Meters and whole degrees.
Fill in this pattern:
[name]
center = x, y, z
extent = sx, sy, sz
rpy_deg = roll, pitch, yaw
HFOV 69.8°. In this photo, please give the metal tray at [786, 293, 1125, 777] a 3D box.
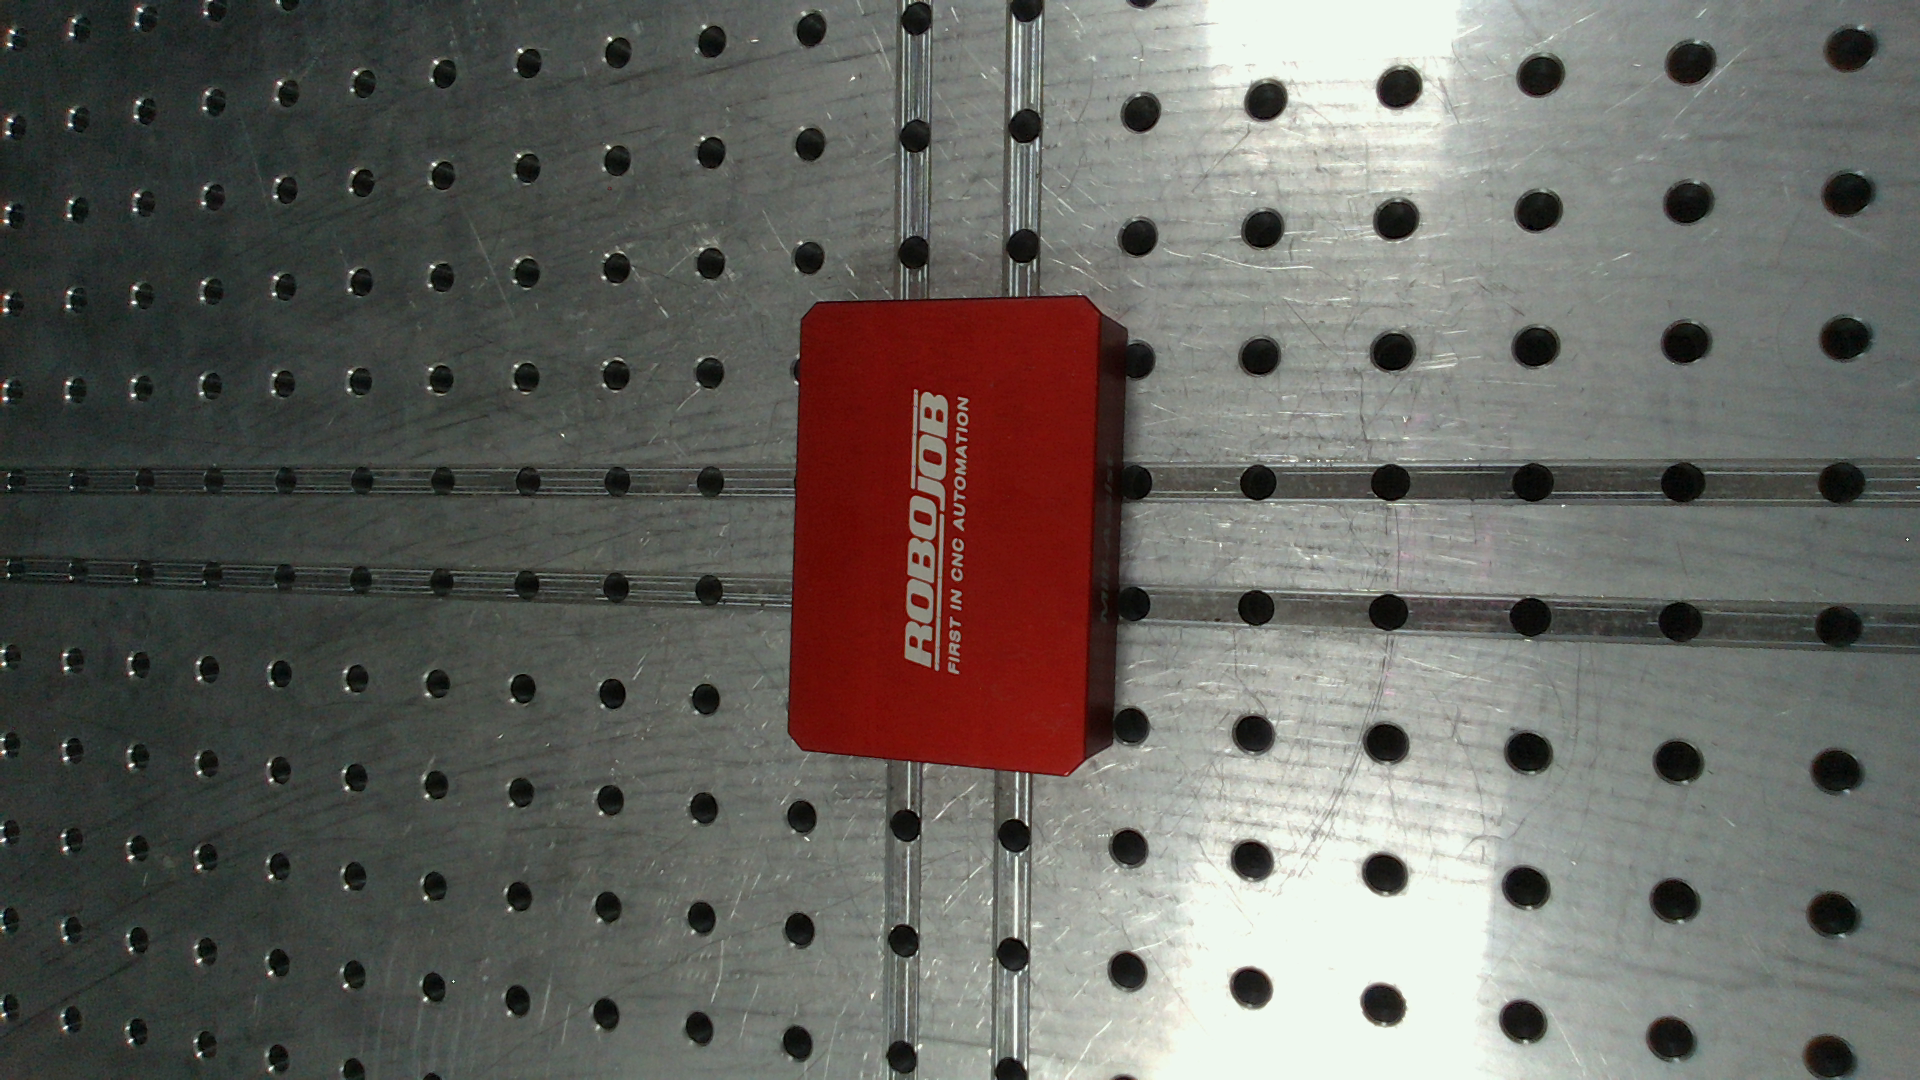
[metal tray]
center = -0.001, -0.003, 0.396
extent = 0.090, 0.030, 0.130
rpy_deg = 2, 91, 20
